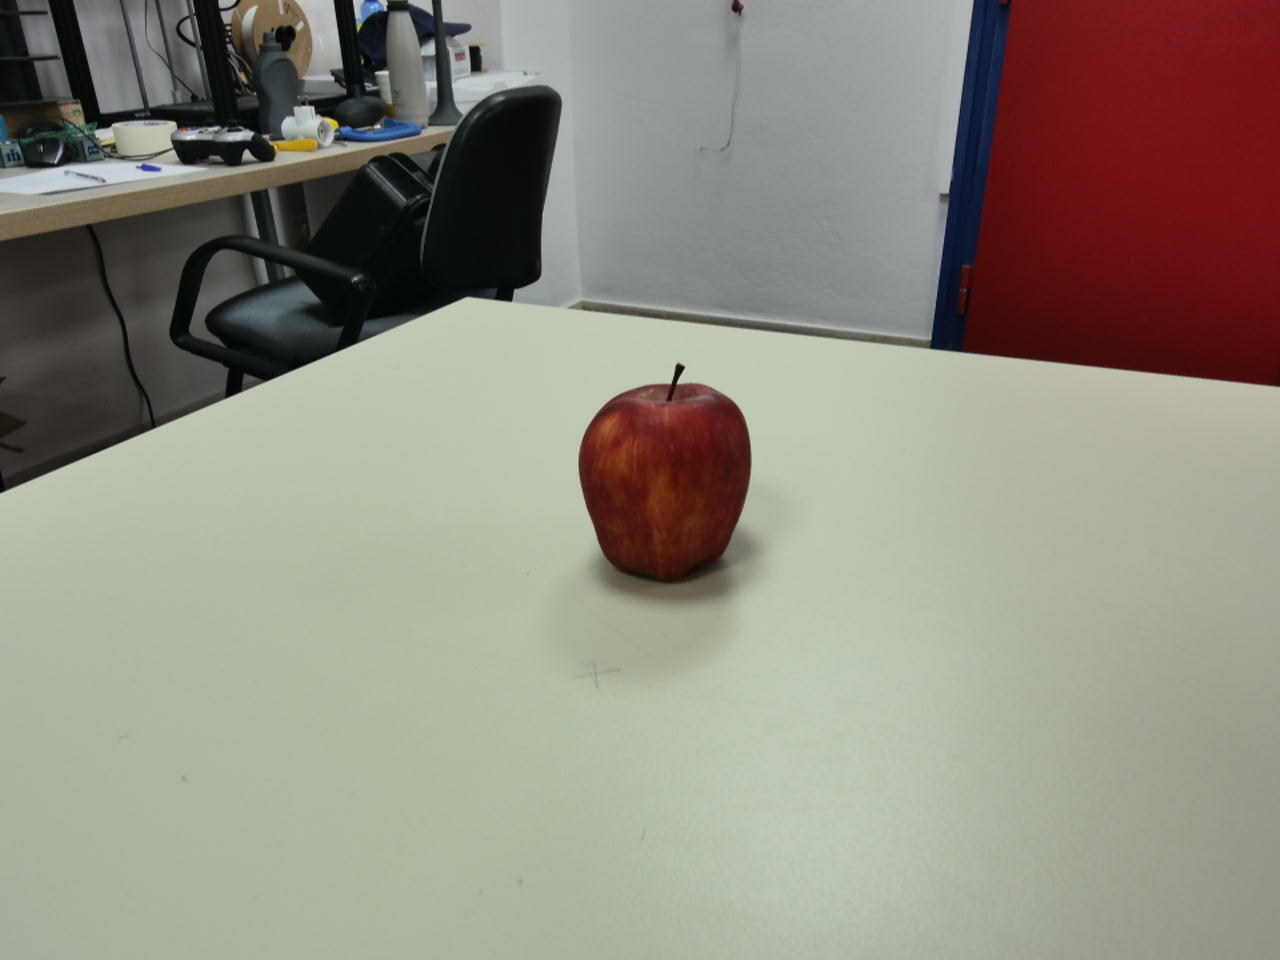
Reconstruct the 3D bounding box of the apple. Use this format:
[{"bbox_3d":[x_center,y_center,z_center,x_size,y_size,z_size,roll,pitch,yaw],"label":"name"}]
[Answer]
[{"bbox_3d":[0.011,-0.008,0.439,0.083,0.090,0.083,-1,24,0],"label":"apple"}]
